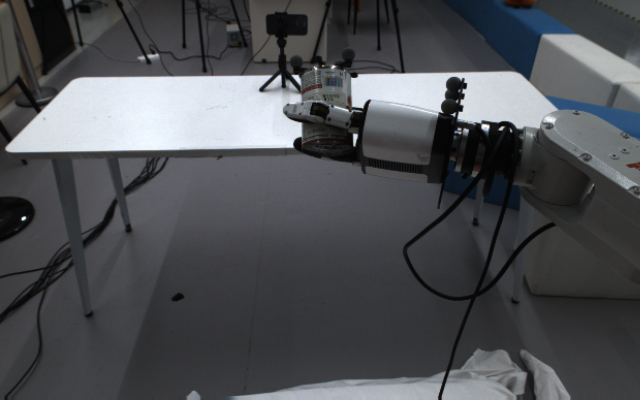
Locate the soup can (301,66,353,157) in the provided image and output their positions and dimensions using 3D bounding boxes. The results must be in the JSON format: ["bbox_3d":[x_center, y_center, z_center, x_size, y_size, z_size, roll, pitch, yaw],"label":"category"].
[{"bbox_3d":[0.010,-0.113,0.624,0.067,0.101,0.067,-1,-9,0],"label":"soup can"}]
